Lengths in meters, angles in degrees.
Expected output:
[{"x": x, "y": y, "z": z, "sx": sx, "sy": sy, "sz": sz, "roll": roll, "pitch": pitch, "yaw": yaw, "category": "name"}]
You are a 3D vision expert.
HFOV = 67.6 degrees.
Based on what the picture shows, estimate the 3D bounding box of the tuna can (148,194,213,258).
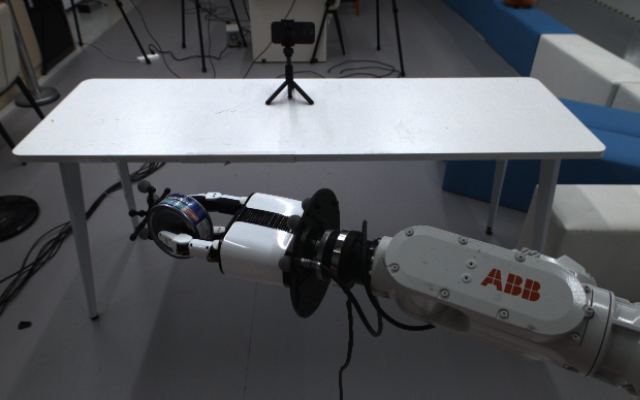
[{"x": -0.187, "y": 0.033, "z": 0.650, "sx": 0.085, "sy": 0.085, "sz": 0.034, "roll": 14, "pitch": 31, "yaw": 16, "category": "tuna can"}]
